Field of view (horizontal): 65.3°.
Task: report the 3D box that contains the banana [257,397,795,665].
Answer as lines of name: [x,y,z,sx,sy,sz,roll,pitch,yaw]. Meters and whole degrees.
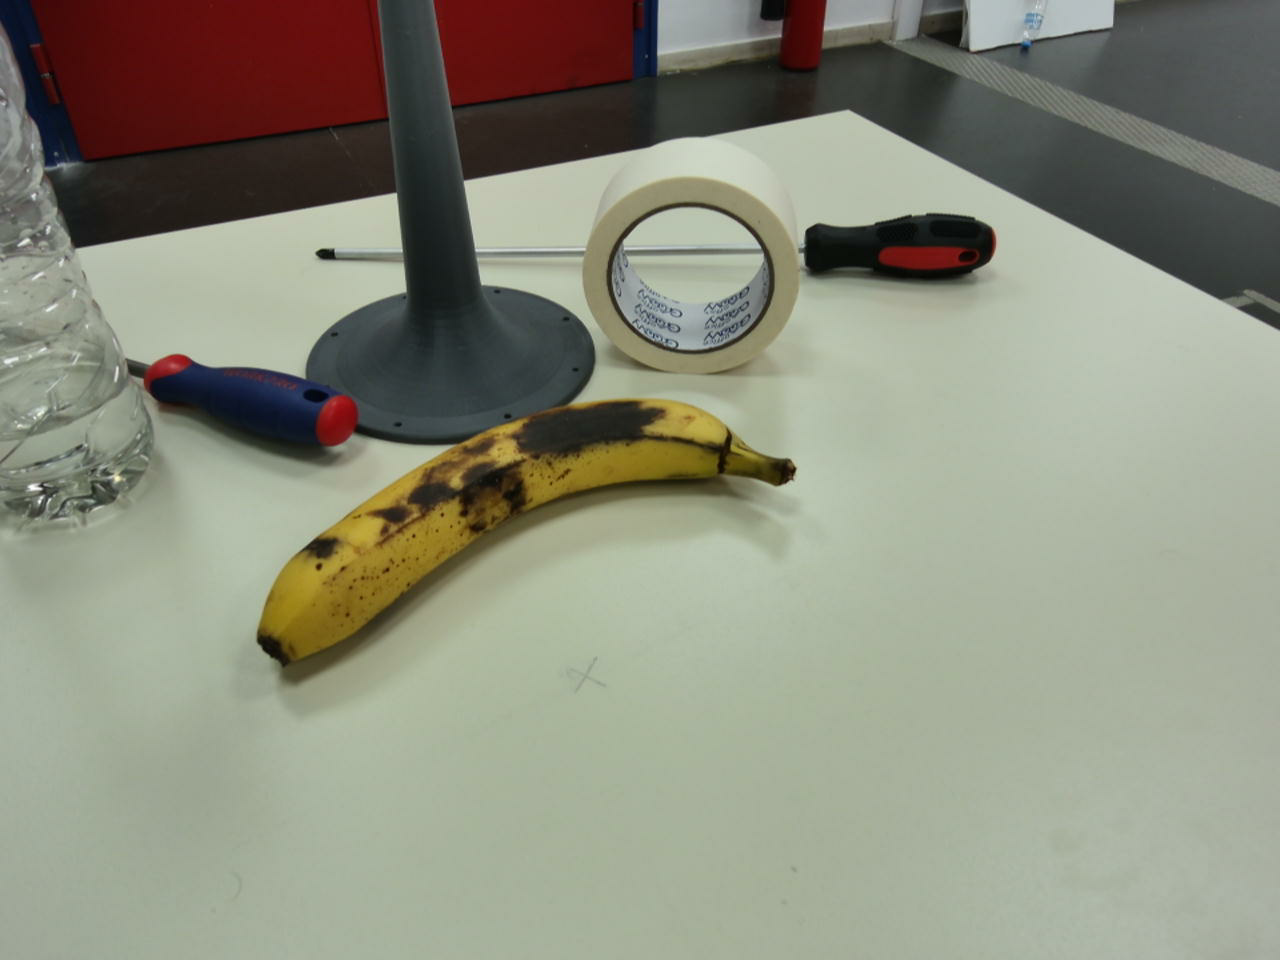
banana: [-0.049,0.006,0.410,0.222,0.037,0.084,-17,41,-22]
